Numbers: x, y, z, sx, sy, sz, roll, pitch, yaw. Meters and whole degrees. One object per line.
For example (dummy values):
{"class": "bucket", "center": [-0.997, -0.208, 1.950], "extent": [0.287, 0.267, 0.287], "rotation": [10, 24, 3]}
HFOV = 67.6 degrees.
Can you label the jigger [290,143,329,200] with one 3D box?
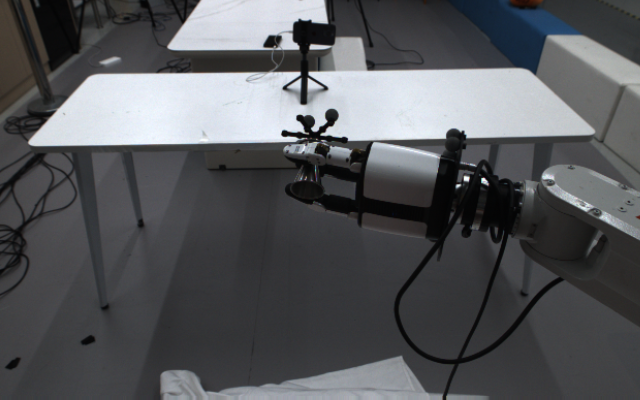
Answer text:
{"class": "jigger", "center": [-0.016, -0.042, 0.625], "extent": [0.043, 0.043, 0.071], "rotation": [6, 61, 5]}
